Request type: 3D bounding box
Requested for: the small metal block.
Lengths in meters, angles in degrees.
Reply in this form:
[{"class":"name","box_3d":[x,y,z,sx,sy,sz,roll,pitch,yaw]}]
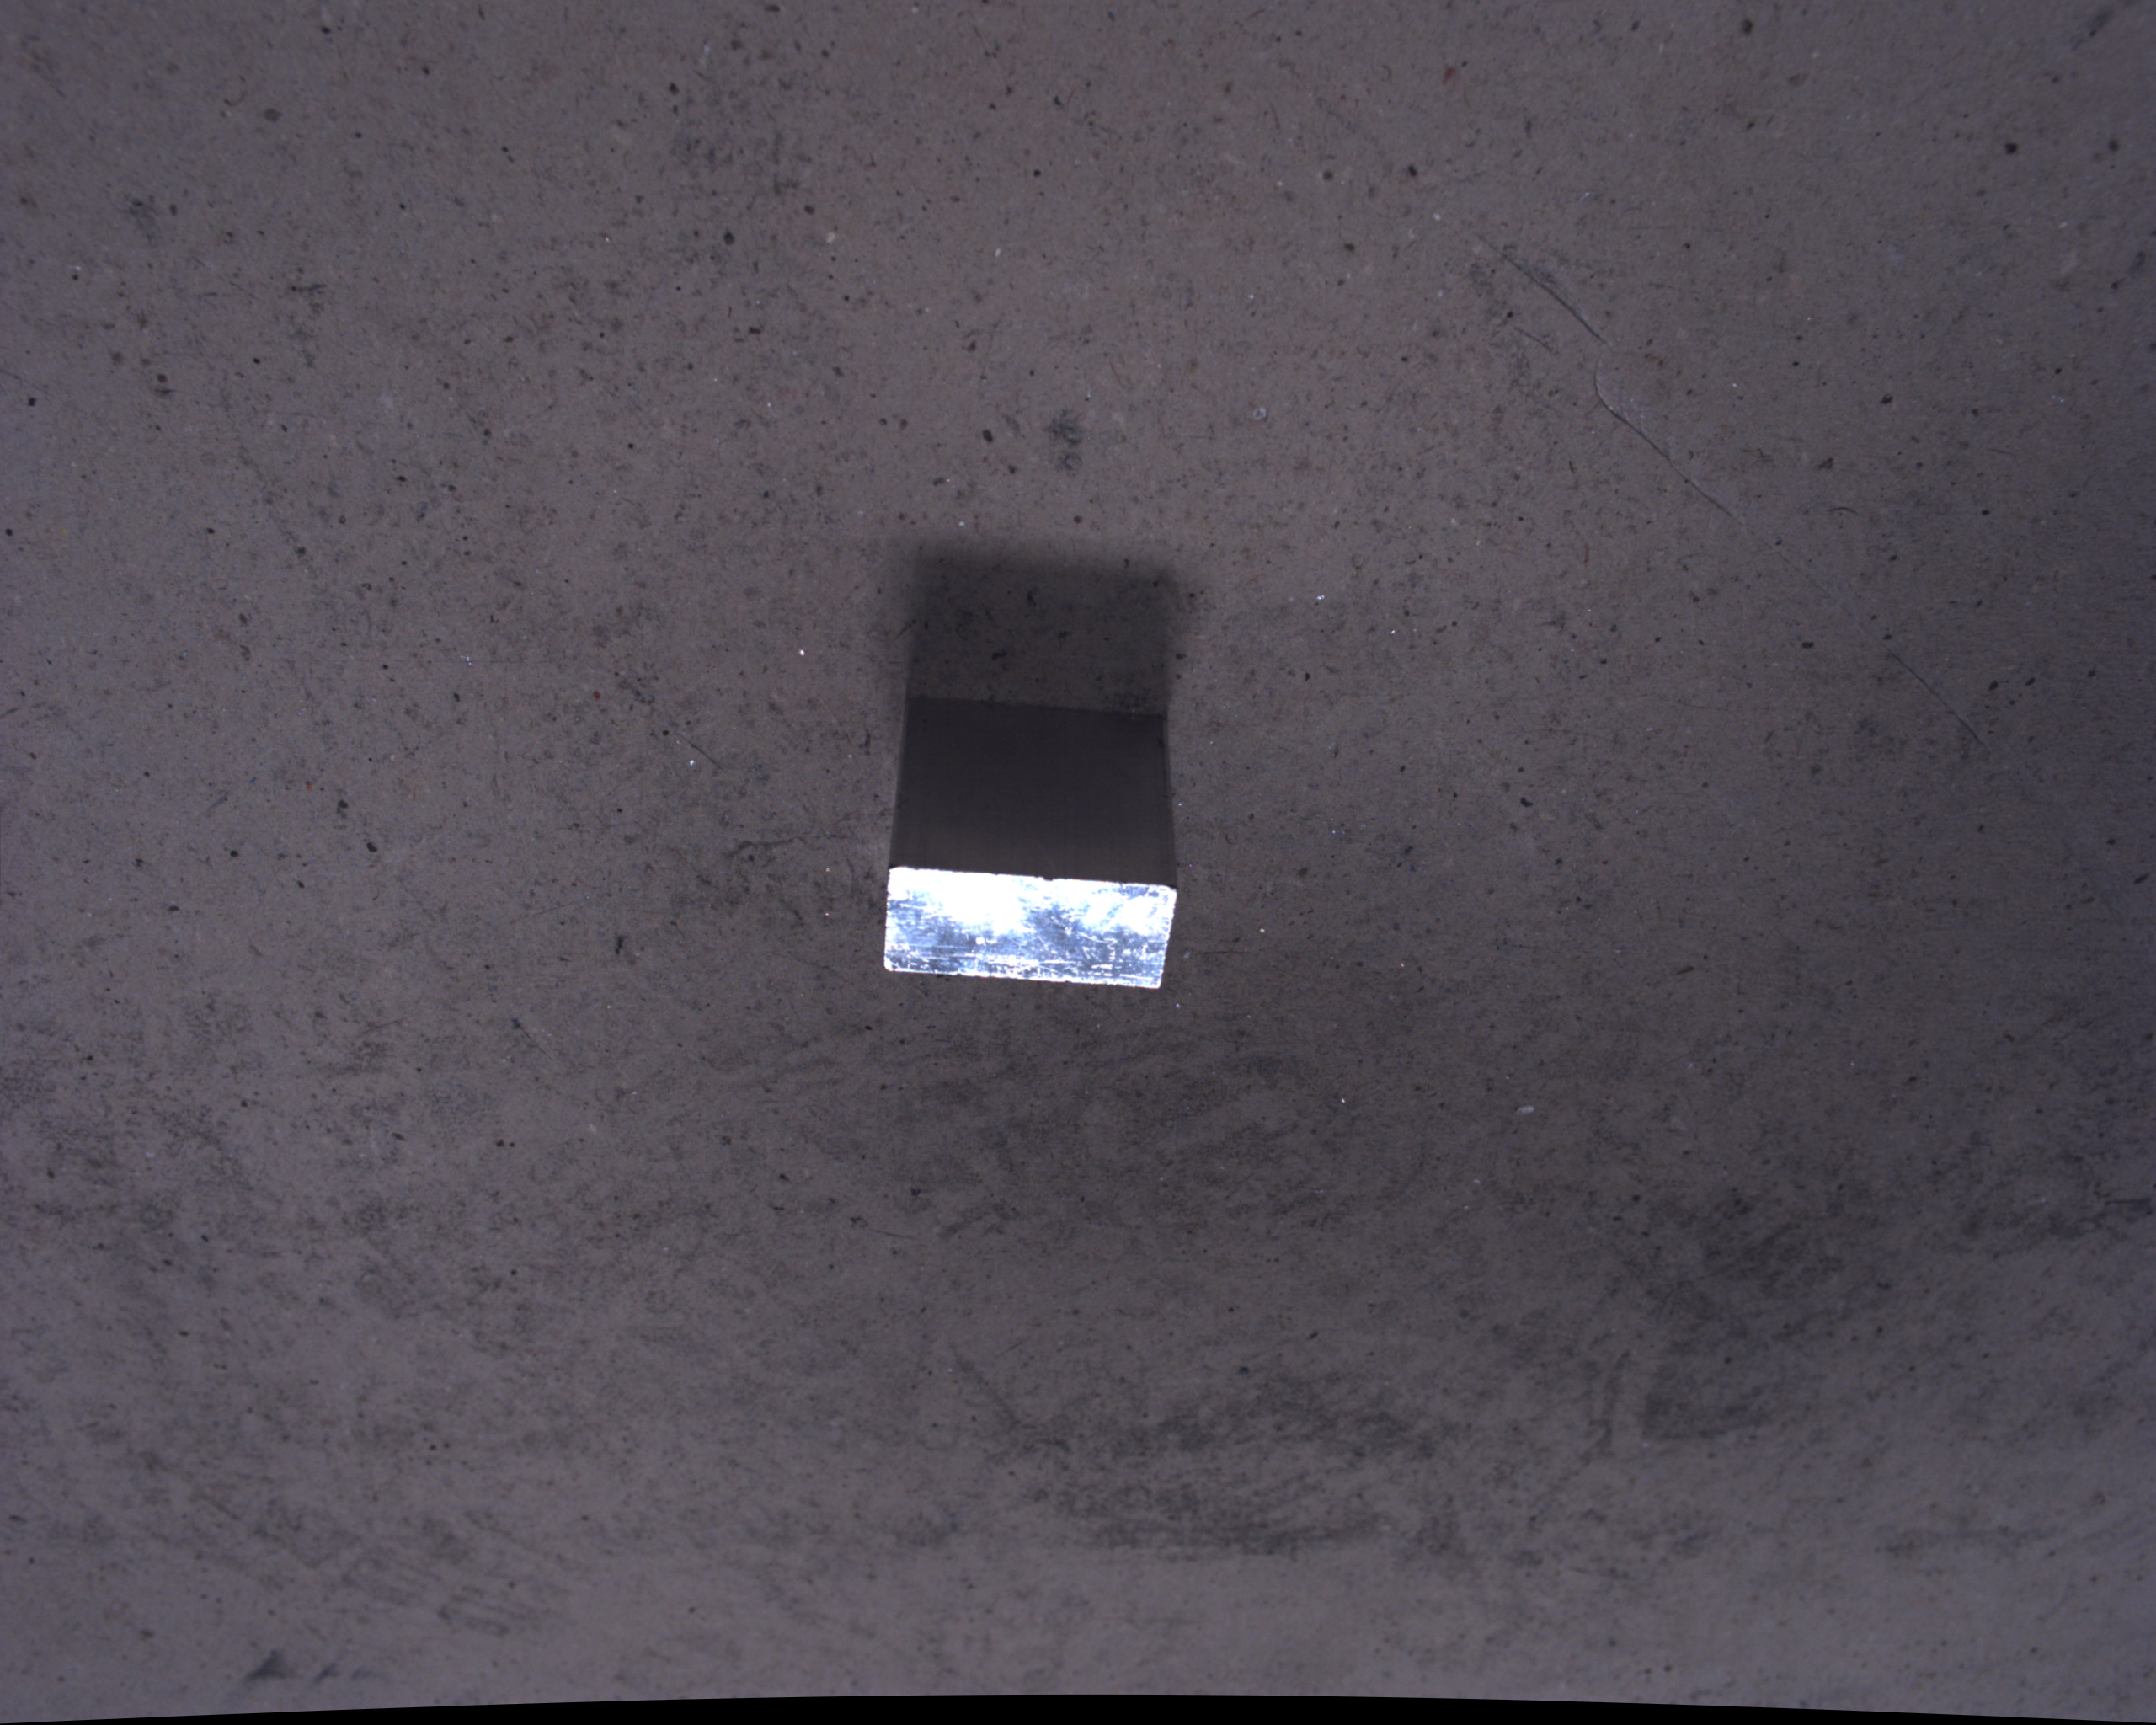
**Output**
[{"class":"small metal block","box_3d":[-0.009,-0.004,0.388,0.050,0.050,0.025,4,130,-4]}]
